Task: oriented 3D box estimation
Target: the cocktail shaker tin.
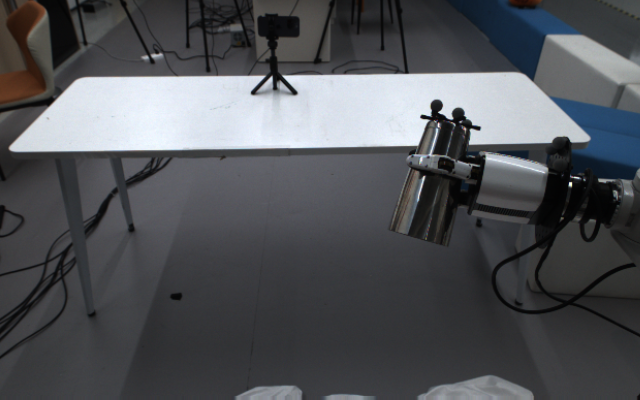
[{"bbox_3d":[0.169,-0.026,0.712,0.093,0.170,0.093,16,-2,1],"label":"cocktail shaker tin"}]
